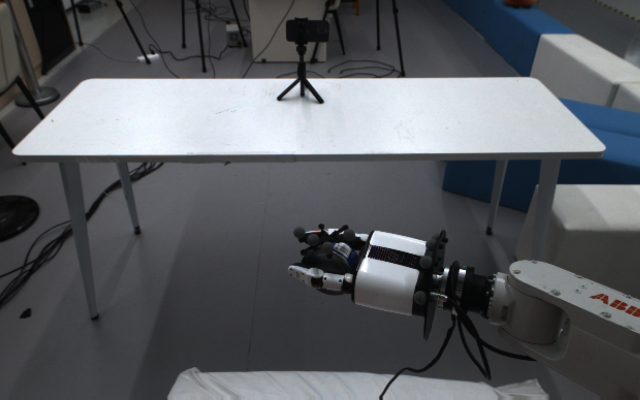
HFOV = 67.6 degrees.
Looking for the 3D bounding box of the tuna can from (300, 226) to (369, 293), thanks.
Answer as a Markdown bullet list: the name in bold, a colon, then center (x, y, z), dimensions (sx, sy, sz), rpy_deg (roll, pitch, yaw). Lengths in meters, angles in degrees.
- **tuna can**: center (0.019, 0.101, 0.729), dimensions (0.085, 0.085, 0.034), rpy_deg (15, 34, 17)
